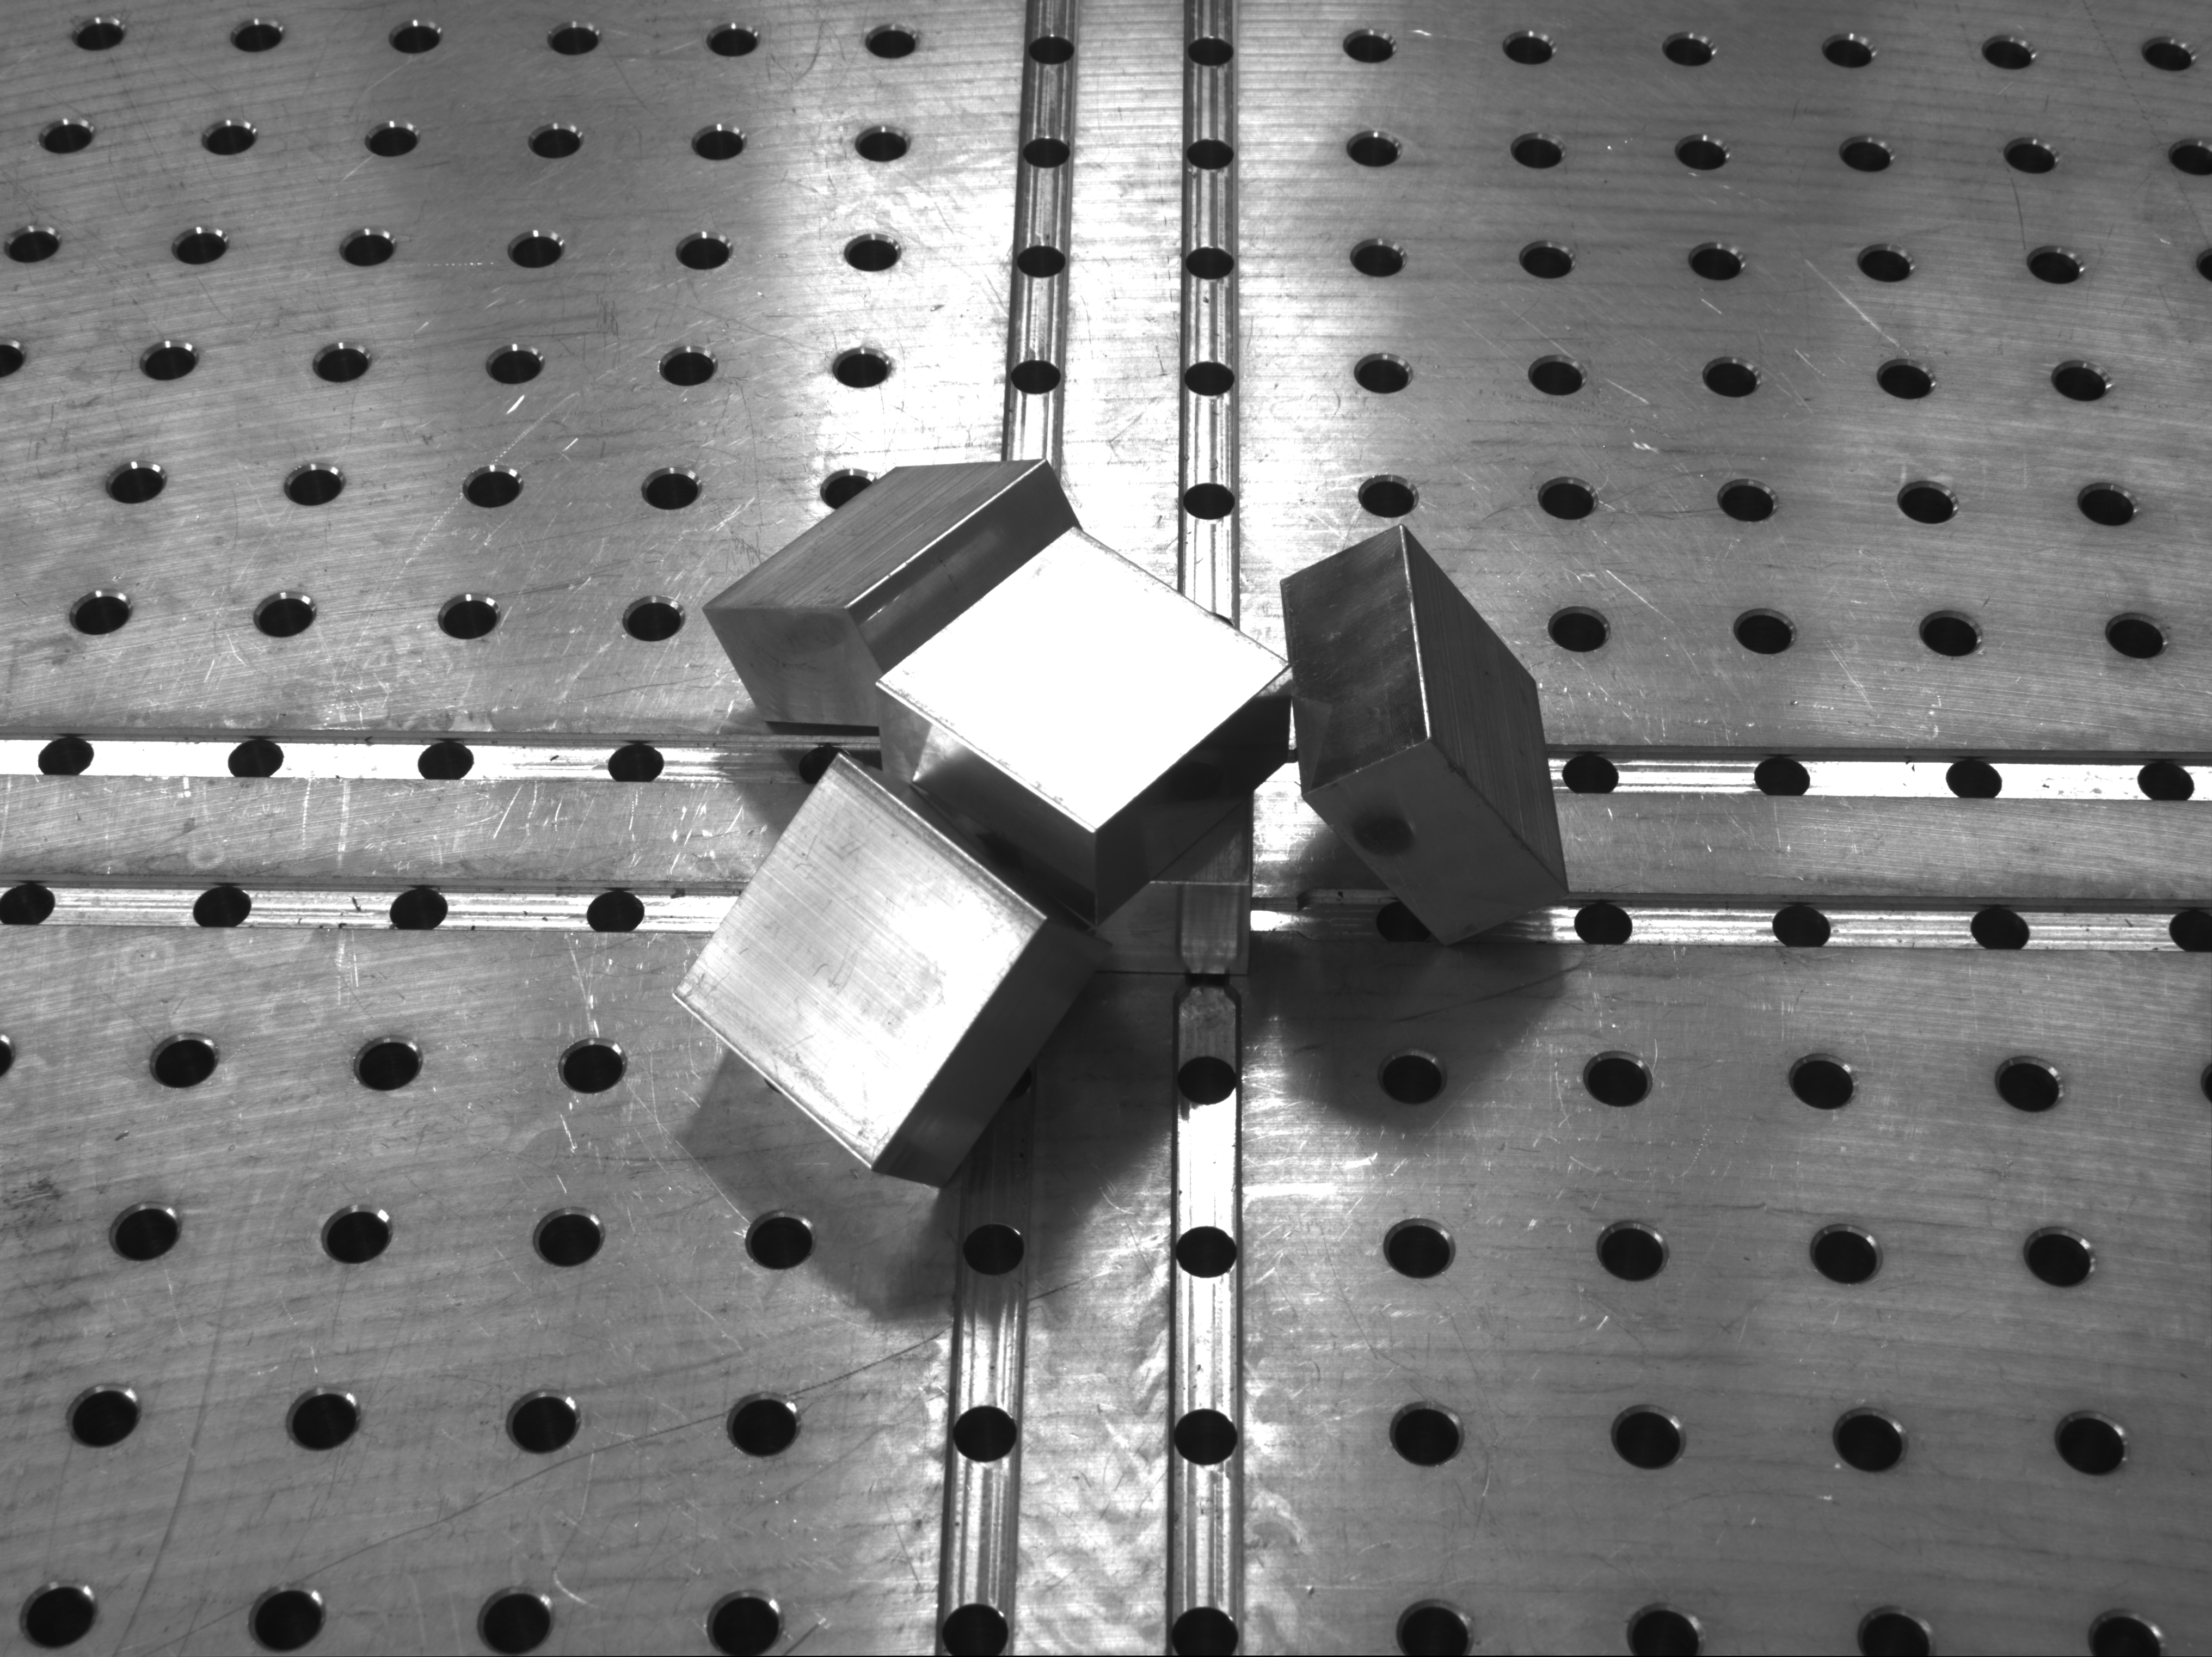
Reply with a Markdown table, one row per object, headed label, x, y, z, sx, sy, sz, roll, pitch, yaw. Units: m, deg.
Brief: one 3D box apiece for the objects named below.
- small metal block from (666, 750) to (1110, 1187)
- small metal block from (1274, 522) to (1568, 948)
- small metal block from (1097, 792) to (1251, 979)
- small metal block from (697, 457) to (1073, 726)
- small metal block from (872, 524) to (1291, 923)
| label | x | y | z | sx | sy | sz | roll | pitch | yaw |
| --- | --- | --- | --- | --- | --- | --- | --- | --- | --- |
| small metal block | -0.036 | 0.023 | 0.609 | 0.050 | 0.025 | 0.050 | 37 | 96 | 28 |
| small metal block | 0.055 | -0.016 | 0.639 | 0.025 | 0.050 | 0.050 | -24 | 46 | 23 |
| small metal block | 0.000 | -0.002 | 0.647 | 0.050 | 0.025 | 0.050 | 1 | 52 | 1 |
| small metal block | -0.037 | -0.043 | 0.666 | 0.050 | 0.025 | 0.050 | -39 | 24 | -28 |
| small metal block | -0.004 | -0.018 | 0.628 | 0.050 | 0.025 | 0.050 | 34 | 57 | 25 |
